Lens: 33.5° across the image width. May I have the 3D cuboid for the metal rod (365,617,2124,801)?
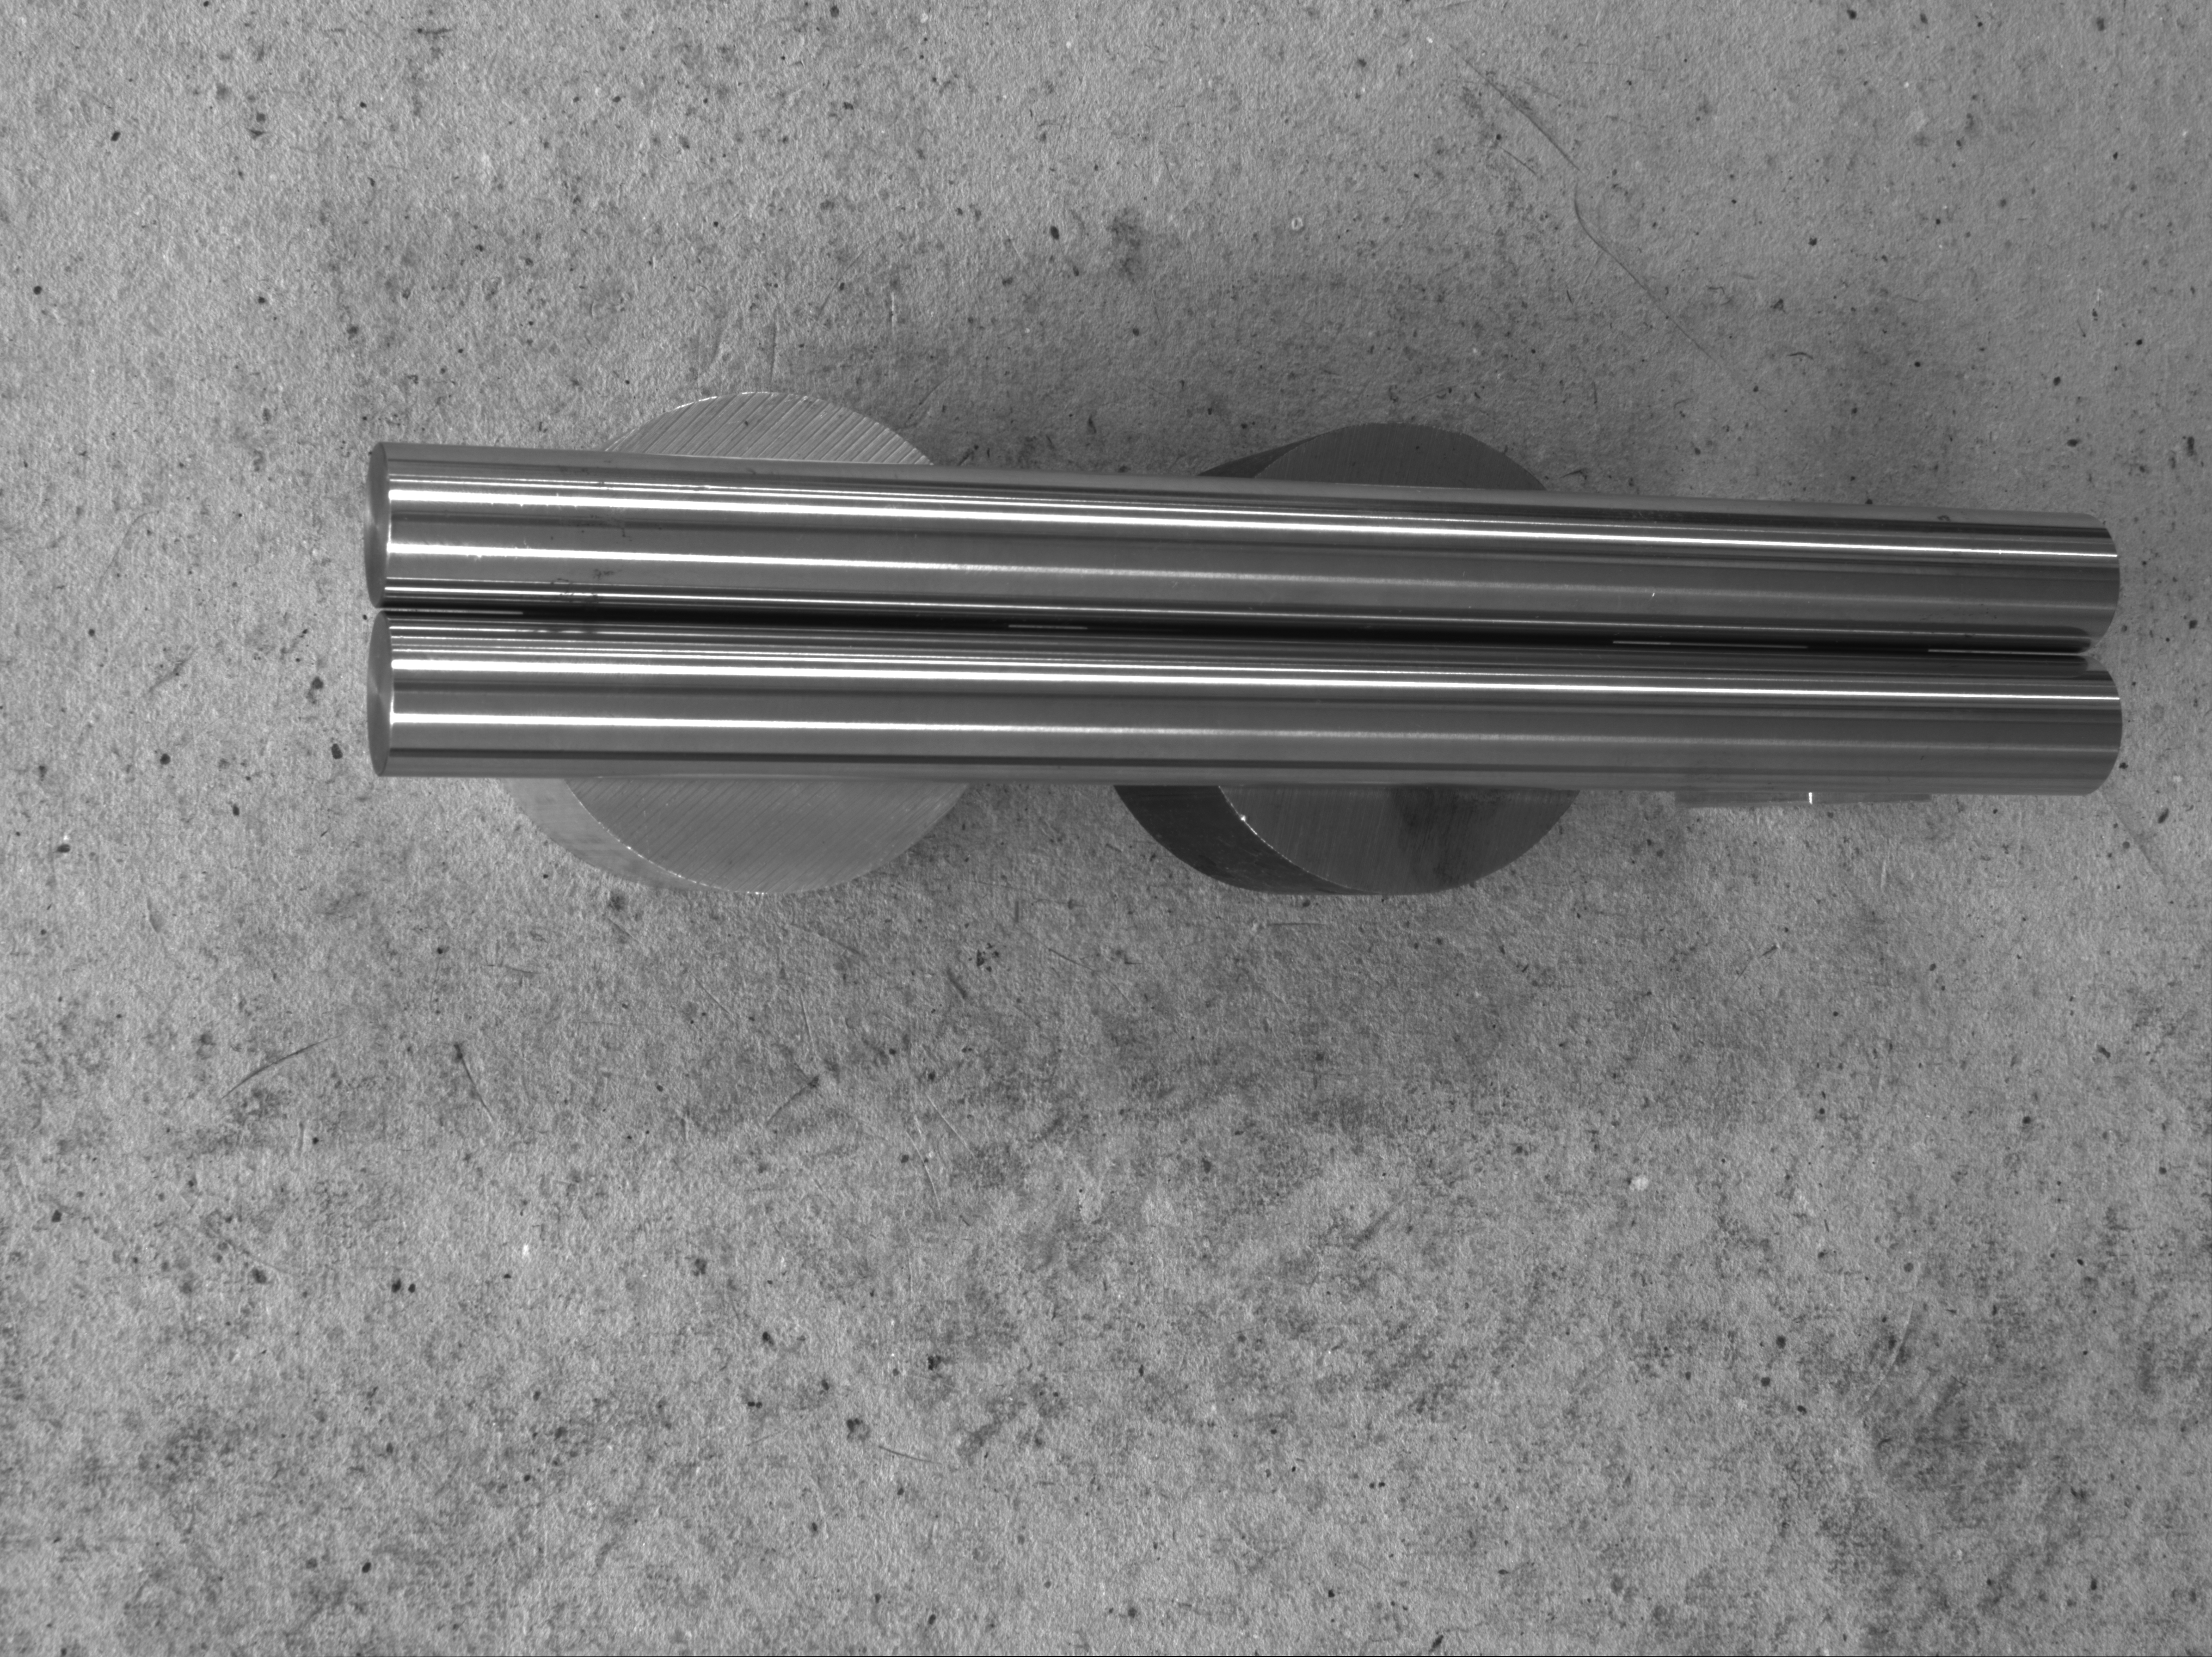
[{"bbox_3d":[0.032,-0.018,0.602,0.301,0.025,0.025,0,90,-20],"label":"metal rod"}]

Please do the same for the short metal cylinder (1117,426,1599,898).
[{"bbox_3d":[0.042,-0.028,0.646,0.080,0.050,0.080,0,90,-20],"label":"short metal cylinder"}]

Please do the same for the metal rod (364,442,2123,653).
[{"bbox_3d":[0.032,-0.044,0.601,0.301,0.025,0.025,0,90,-20],"label":"metal rod"}]

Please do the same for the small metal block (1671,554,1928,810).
[{"bbox_3d":[0.127,-0.029,0.677,0.025,0.050,0.050,-2,90,-20],"label":"small metal block"}]

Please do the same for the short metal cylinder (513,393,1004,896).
[{"bbox_3d":[-0.061,-0.029,0.607,0.080,0.050,0.080,0,90,-20],"label":"short metal cylinder"}]
